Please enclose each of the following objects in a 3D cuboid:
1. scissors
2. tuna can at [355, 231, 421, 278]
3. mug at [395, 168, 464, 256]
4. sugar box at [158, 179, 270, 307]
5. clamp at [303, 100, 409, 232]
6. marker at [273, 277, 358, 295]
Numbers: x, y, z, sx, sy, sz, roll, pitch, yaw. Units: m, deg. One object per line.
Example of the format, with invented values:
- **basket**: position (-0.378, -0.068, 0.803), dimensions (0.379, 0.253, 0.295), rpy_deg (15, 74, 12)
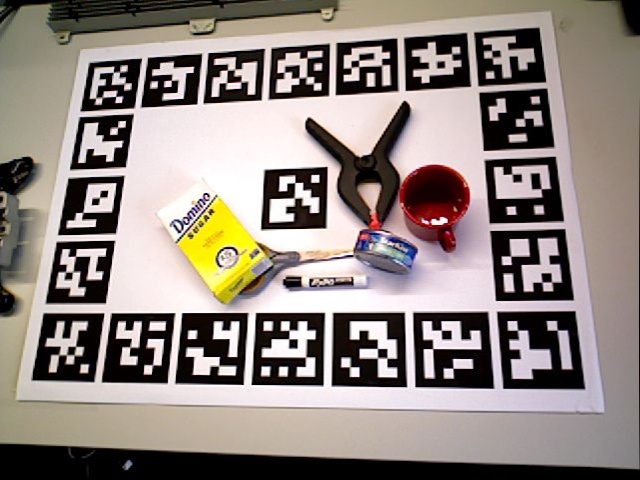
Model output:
- **scissors**: position (-0.051, 0.026, 0.789), dimensions (0.202, 0.016, 0.087), rpy_deg (-11, 68, 4)
- **tuna can**: position (0.091, 0.021, 0.736), dimensions (0.086, 0.086, 0.033), rpy_deg (16, 74, 13)
- **mug**: position (0.152, -0.029, 0.746), dimensions (0.093, 0.082, 0.116), rpy_deg (-27, 67, -1)
- **sugar box**: position (-0.158, 0.001, 0.797), dimensions (0.092, 0.046, 0.176), rpy_deg (-36, 65, -4)
- **clamp**: position (0.069, -0.105, 0.814), dimensions (0.165, 0.037, 0.201), rpy_deg (-11, 73, 5)
- **marker**: position (-0.007, 0.066, 0.773), dimensions (0.121, 0.020, 0.019), rpy_deg (-4, 73, 8)
